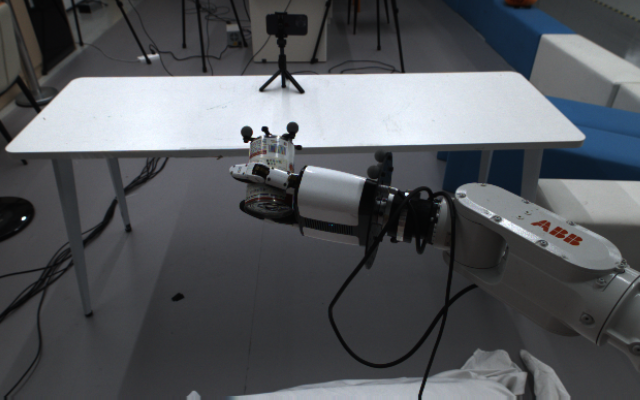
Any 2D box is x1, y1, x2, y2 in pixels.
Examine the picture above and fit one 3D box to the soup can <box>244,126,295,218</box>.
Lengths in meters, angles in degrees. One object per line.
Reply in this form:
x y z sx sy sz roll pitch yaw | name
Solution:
-0.069 -0.032 0.685 0.067 0.067 0.101 1 68 -1 | soup can
